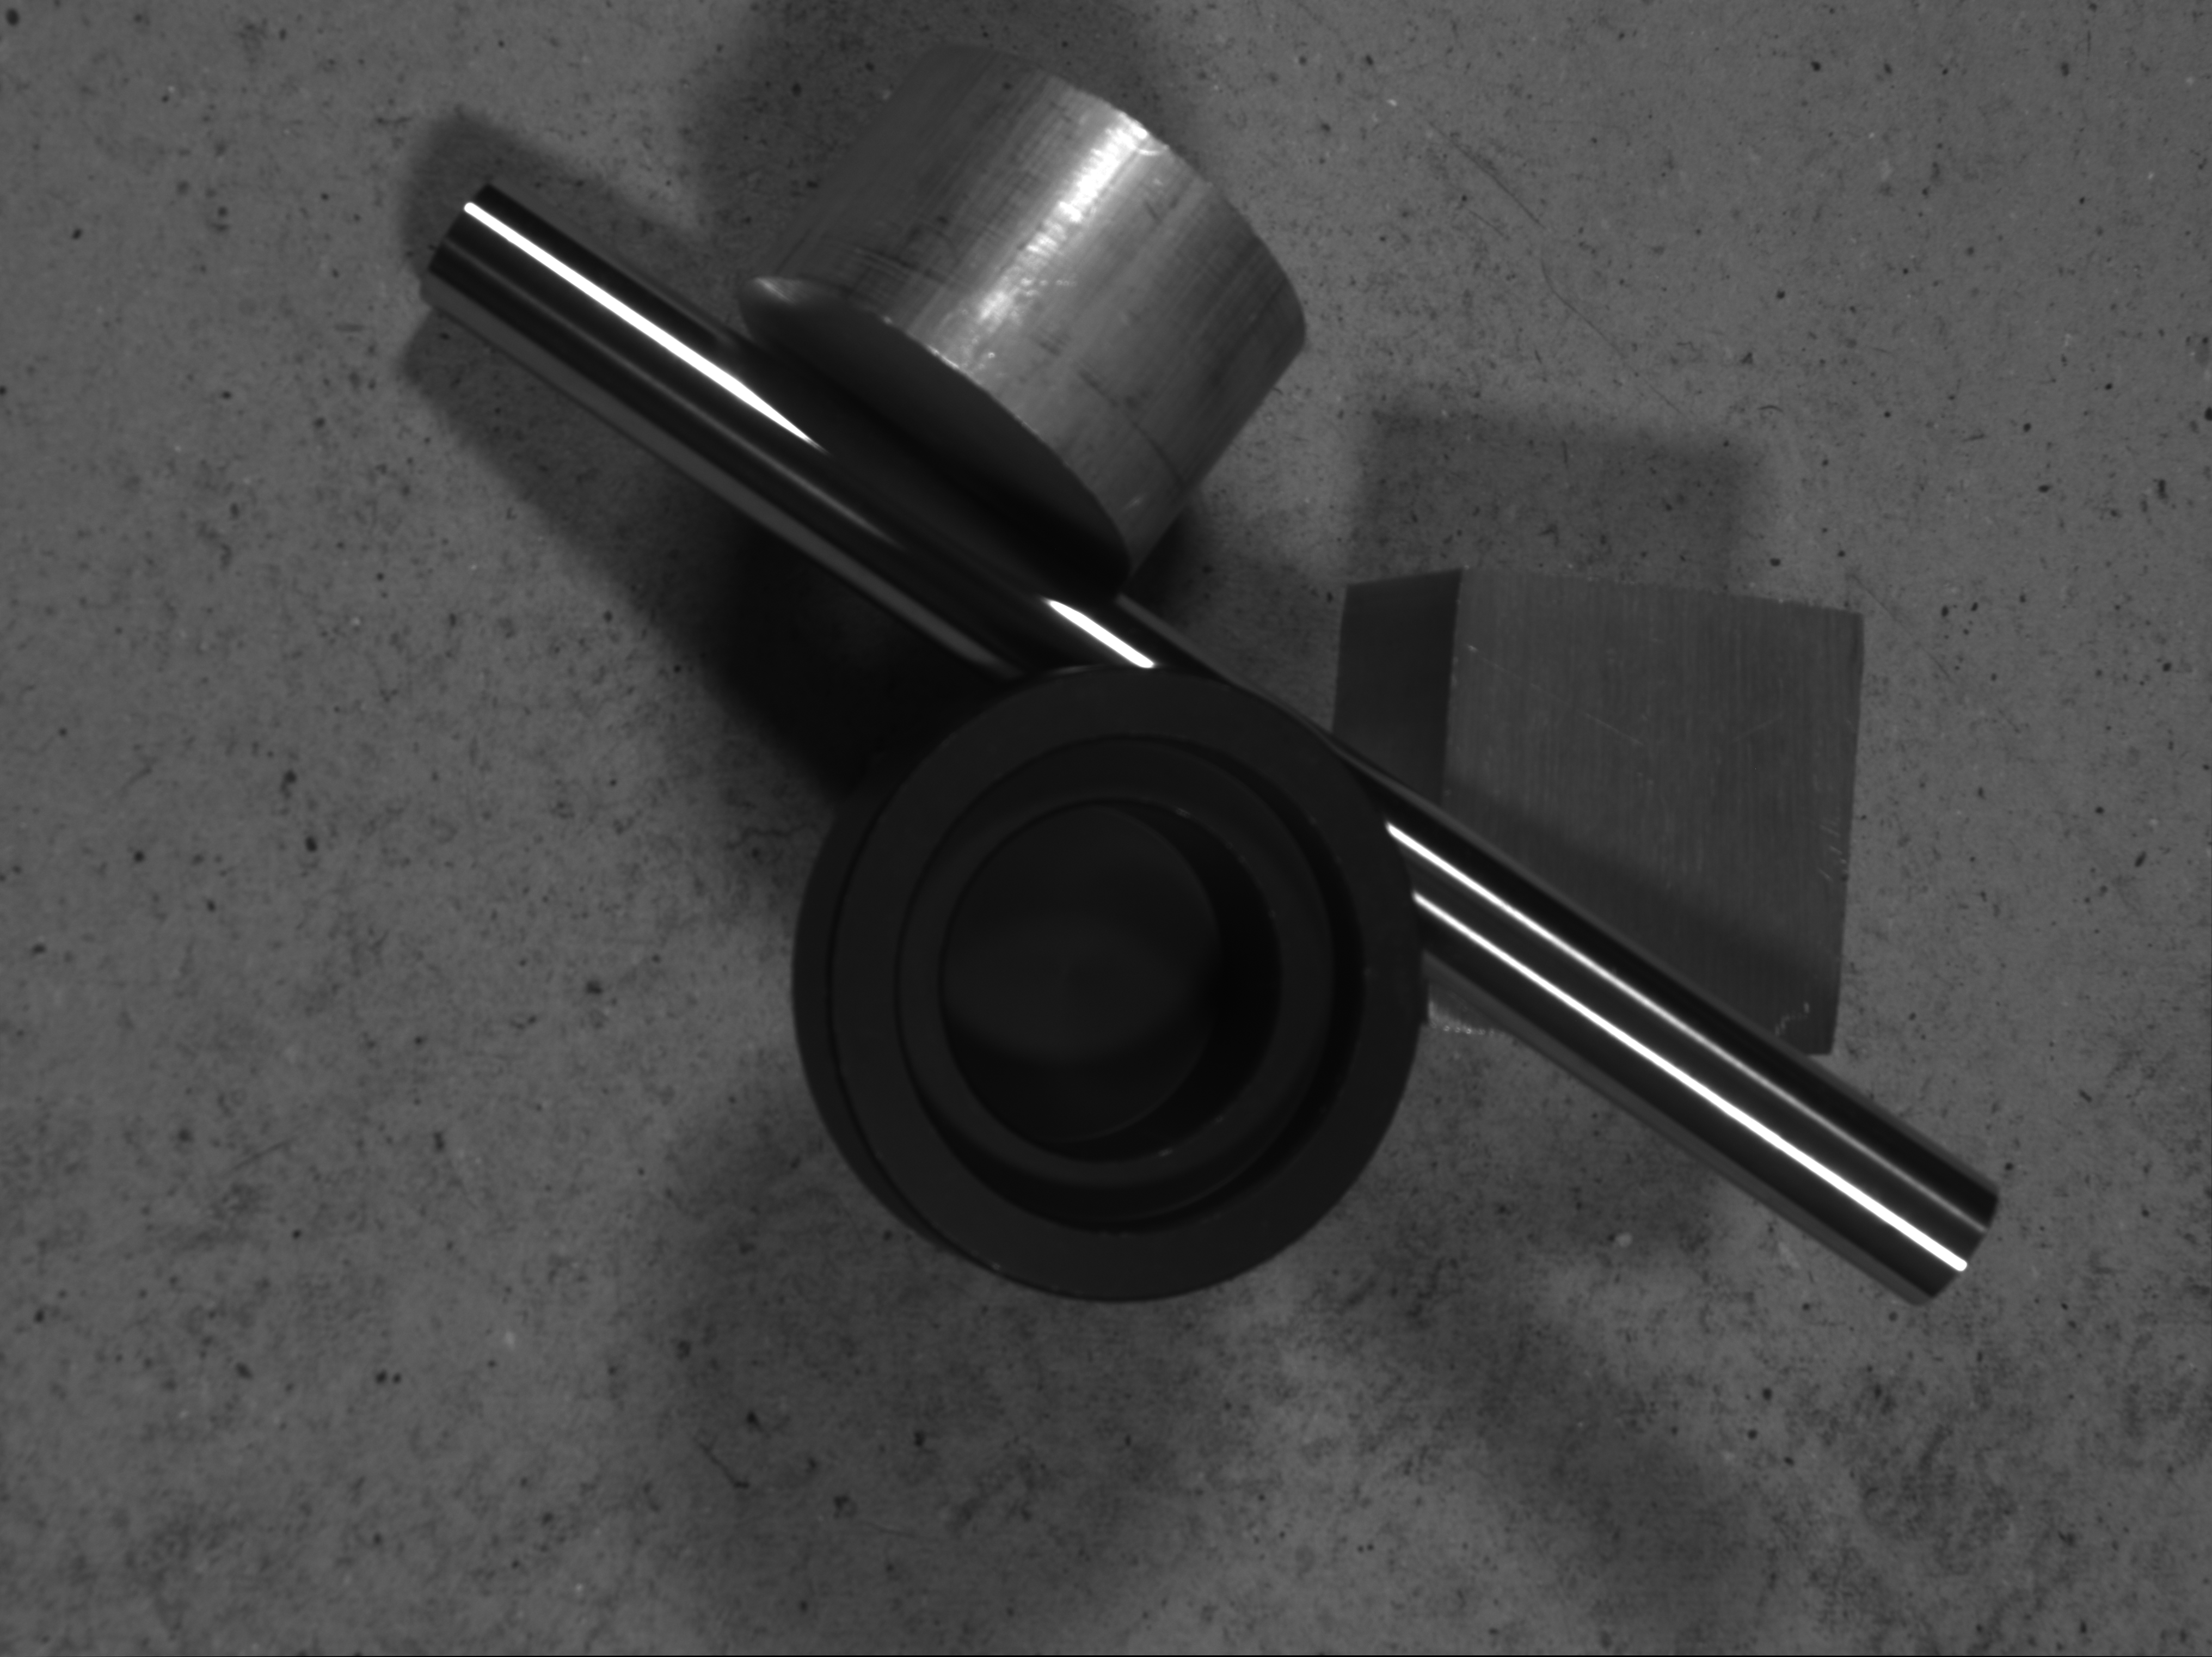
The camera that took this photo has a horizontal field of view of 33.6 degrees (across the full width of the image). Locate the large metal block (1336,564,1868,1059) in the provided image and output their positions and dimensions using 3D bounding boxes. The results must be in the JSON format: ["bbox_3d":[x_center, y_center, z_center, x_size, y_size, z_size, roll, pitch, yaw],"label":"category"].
[{"bbox_3d":[0.087,-0.002,0.662,0.080,0.050,0.080,5,88,-20],"label":"large metal block"}]

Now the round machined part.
[{"bbox_3d":[-0.003,0.024,0.581,0.098,0.042,0.098,0,91,-20],"label":"round machined part"}]

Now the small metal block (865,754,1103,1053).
[{"bbox_3d":[-0.021,0.012,0.623,0.025,0.050,0.050,-2,91,-20],"label":"small metal block"}]

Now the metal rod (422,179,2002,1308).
[{"bbox_3d":[0.019,-0.013,0.611,0.300,0.025,0.025,34,79,-2],"label":"metal rod"}]

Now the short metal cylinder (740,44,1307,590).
[{"bbox_3d":[-0.014,-0.084,0.609,0.080,0.080,0.050,39,78,-16],"label":"short metal cylinder"}]
